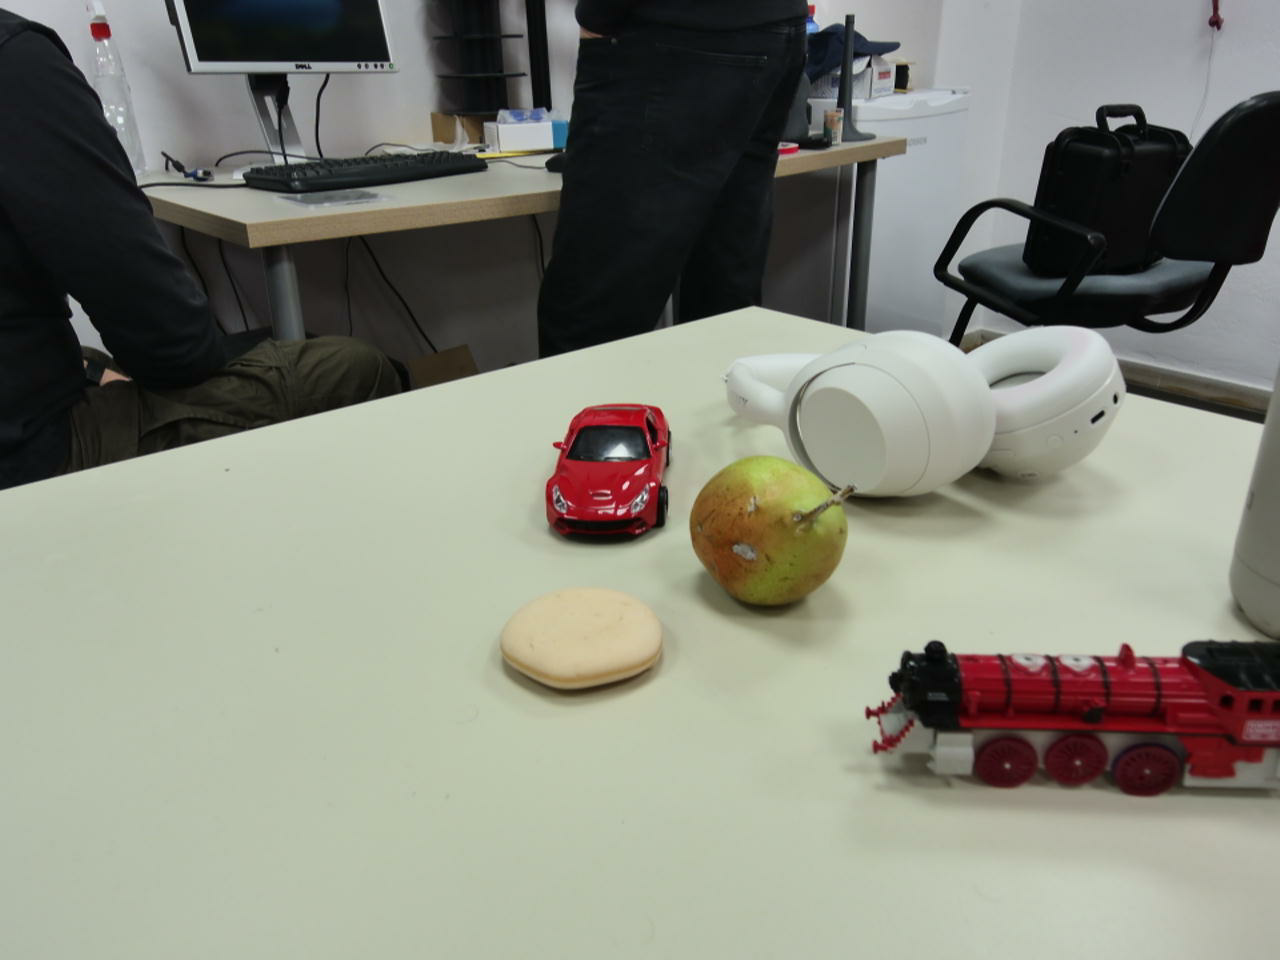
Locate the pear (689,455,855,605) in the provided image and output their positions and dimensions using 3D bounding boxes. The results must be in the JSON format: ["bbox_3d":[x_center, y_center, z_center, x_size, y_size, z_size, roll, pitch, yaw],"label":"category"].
[{"bbox_3d":[0.055,0.019,0.431,0.068,0.069,0.070,5,22,11],"label":"pear"}]
